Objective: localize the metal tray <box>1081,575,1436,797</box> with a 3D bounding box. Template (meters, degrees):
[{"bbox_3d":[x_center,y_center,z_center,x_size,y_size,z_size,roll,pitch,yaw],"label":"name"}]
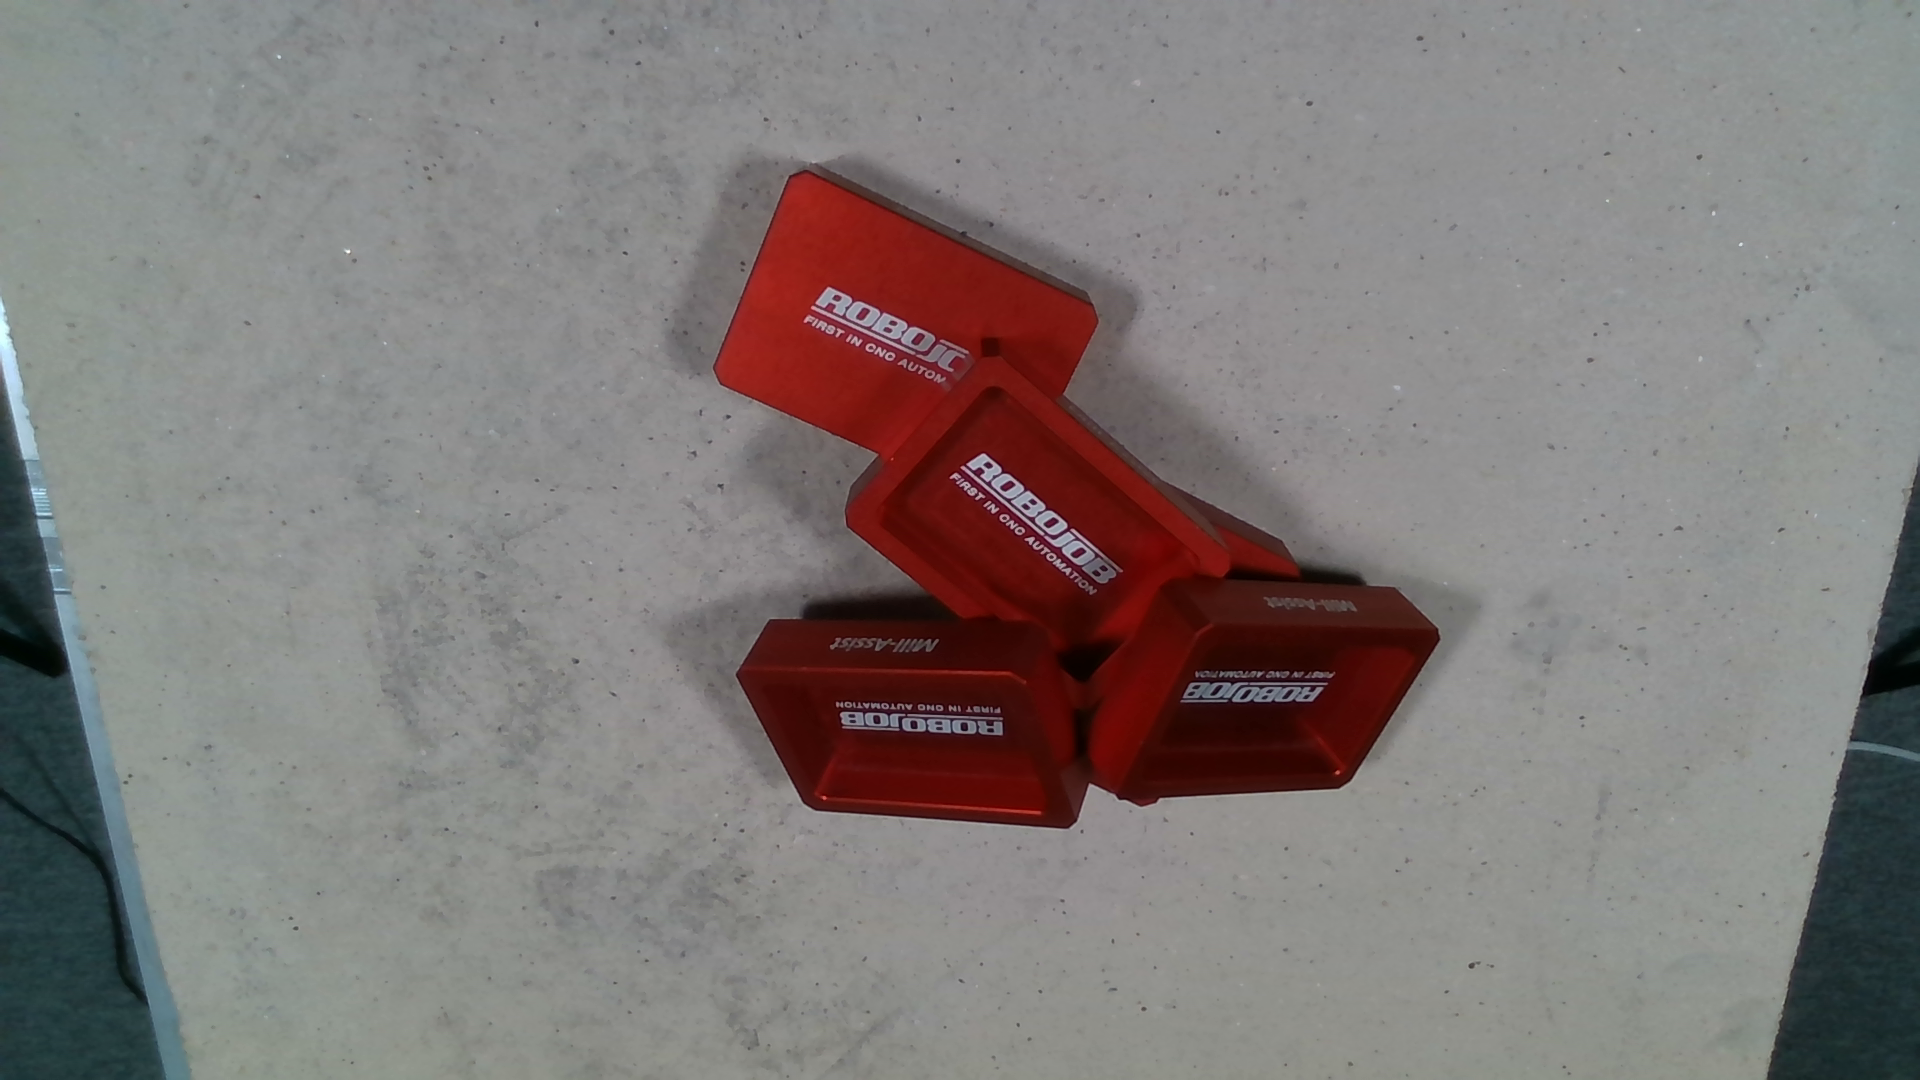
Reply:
[{"bbox_3d":[0.123,0.061,0.568,0.130,0.030,0.090,3,124,-30],"label":"metal tray"}]

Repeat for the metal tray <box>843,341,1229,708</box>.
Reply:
[{"bbox_3d":[0.030,-0.005,0.548,0.130,0.030,0.090,39,106,-13],"label":"metal tray"}]

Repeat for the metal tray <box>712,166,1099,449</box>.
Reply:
[{"bbox_3d":[-0.022,-0.081,0.551,0.130,0.030,0.090,23,109,-8],"label":"metal tray"}]

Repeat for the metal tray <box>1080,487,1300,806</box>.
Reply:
[{"bbox_3d":[0.074,0.042,0.597,0.090,0.030,0.130,26,108,-9],"label":"metal tray"}]

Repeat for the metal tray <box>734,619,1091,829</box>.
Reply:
[{"bbox_3d":[-0.019,0.076,0.574,0.130,0.030,0.090,-1,130,25],"label":"metal tray"}]
